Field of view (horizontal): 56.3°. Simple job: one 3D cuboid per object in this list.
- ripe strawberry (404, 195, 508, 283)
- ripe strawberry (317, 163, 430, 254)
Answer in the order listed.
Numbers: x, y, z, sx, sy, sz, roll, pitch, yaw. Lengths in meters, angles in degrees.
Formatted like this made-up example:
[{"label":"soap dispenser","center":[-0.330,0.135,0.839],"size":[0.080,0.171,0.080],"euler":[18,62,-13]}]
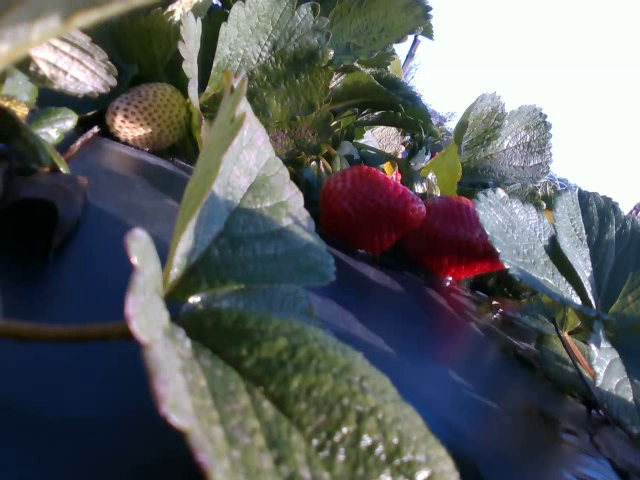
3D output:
[{"label":"ripe strawberry","center":[0.066,0.002,0.260],"size":[0.052,0.046,0.057],"euler":[-16,22,-37]},{"label":"ripe strawberry","center":[0.022,-0.012,0.229],"size":[0.051,0.037,0.043],"euler":[17,33,41]}]
